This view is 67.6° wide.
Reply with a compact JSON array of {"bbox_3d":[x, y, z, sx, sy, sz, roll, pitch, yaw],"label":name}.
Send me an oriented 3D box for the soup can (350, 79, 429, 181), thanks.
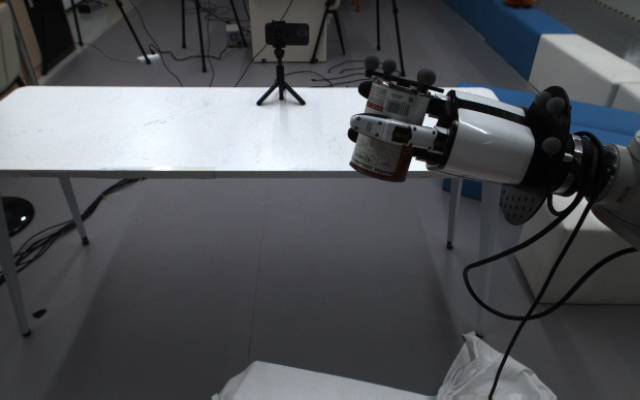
[{"bbox_3d":[0.080,-0.080,0.549,0.067,0.101,0.067,13,18,-4],"label":"soup can"}]
